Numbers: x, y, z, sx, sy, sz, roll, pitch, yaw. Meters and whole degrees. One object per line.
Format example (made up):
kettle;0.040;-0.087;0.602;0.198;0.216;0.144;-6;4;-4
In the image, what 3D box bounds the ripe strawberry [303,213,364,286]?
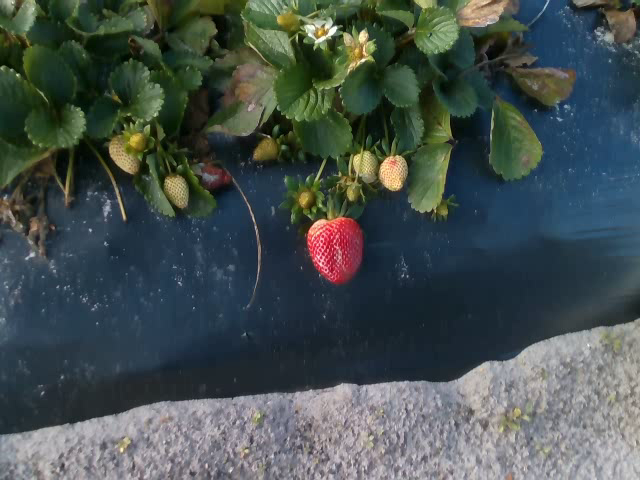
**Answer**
ripe strawberry;0.015;0.010;0.584;0.052;0.068;0.045;-5;-32;-11
